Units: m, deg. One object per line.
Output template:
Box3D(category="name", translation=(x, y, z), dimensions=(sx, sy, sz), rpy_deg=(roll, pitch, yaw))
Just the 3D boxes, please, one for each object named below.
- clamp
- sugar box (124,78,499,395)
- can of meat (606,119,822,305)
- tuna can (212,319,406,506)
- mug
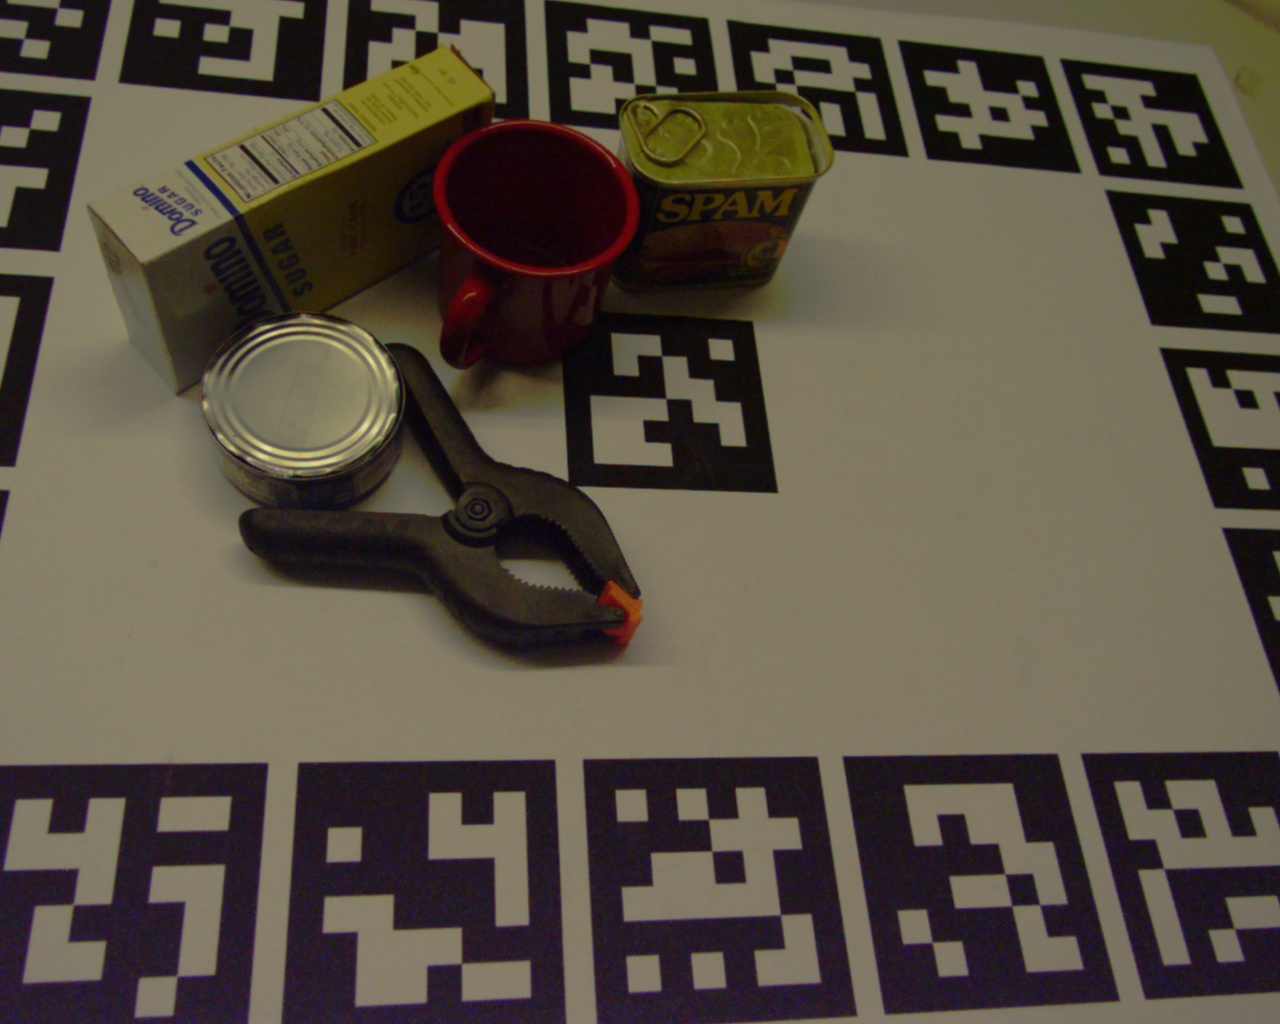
Box3D(category="clamp", translation=(-0.075, 0.009, 0.528), dimensions=(0.165, 0.037, 0.121), rpy_deg=(34, 57, 1))
Box3D(category="sugar box", translation=(-0.151, -0.133, 0.551), dimensions=(0.175, 0.093, 0.045), rpy_deg=(-36, 75, -27))
Box3D(category="can of meat", translation=(0.033, -0.158, 0.608), dimensions=(0.101, 0.084, 0.058), rpy_deg=(-6, 64, -17))
Box3D(category="tuna can", translation=(-0.153, -0.045, 0.532), dimensions=(0.085, 0.034, 0.086), rpy_deg=(4, 65, -10))
Box3D(category="mug", translation=(-0.060, -0.119, 0.560), dimensions=(0.093, 0.081, 0.117), rpy_deg=(24, 63, -1))
